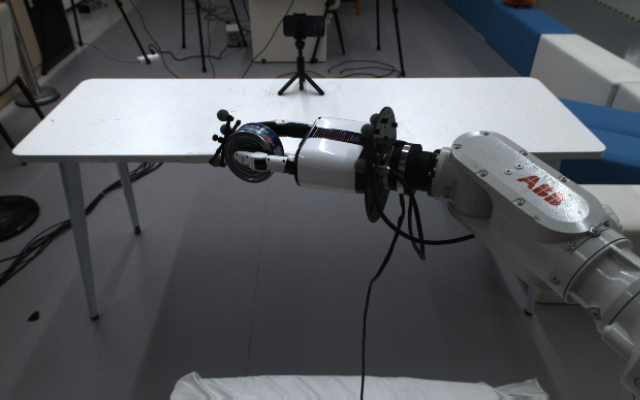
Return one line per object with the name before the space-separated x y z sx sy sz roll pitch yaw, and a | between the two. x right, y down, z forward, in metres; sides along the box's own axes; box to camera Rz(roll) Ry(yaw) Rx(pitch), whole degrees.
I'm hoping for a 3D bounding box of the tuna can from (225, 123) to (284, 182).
tuna can | -0.097 -0.067 0.717 0.085 0.085 0.034 12 30 15
